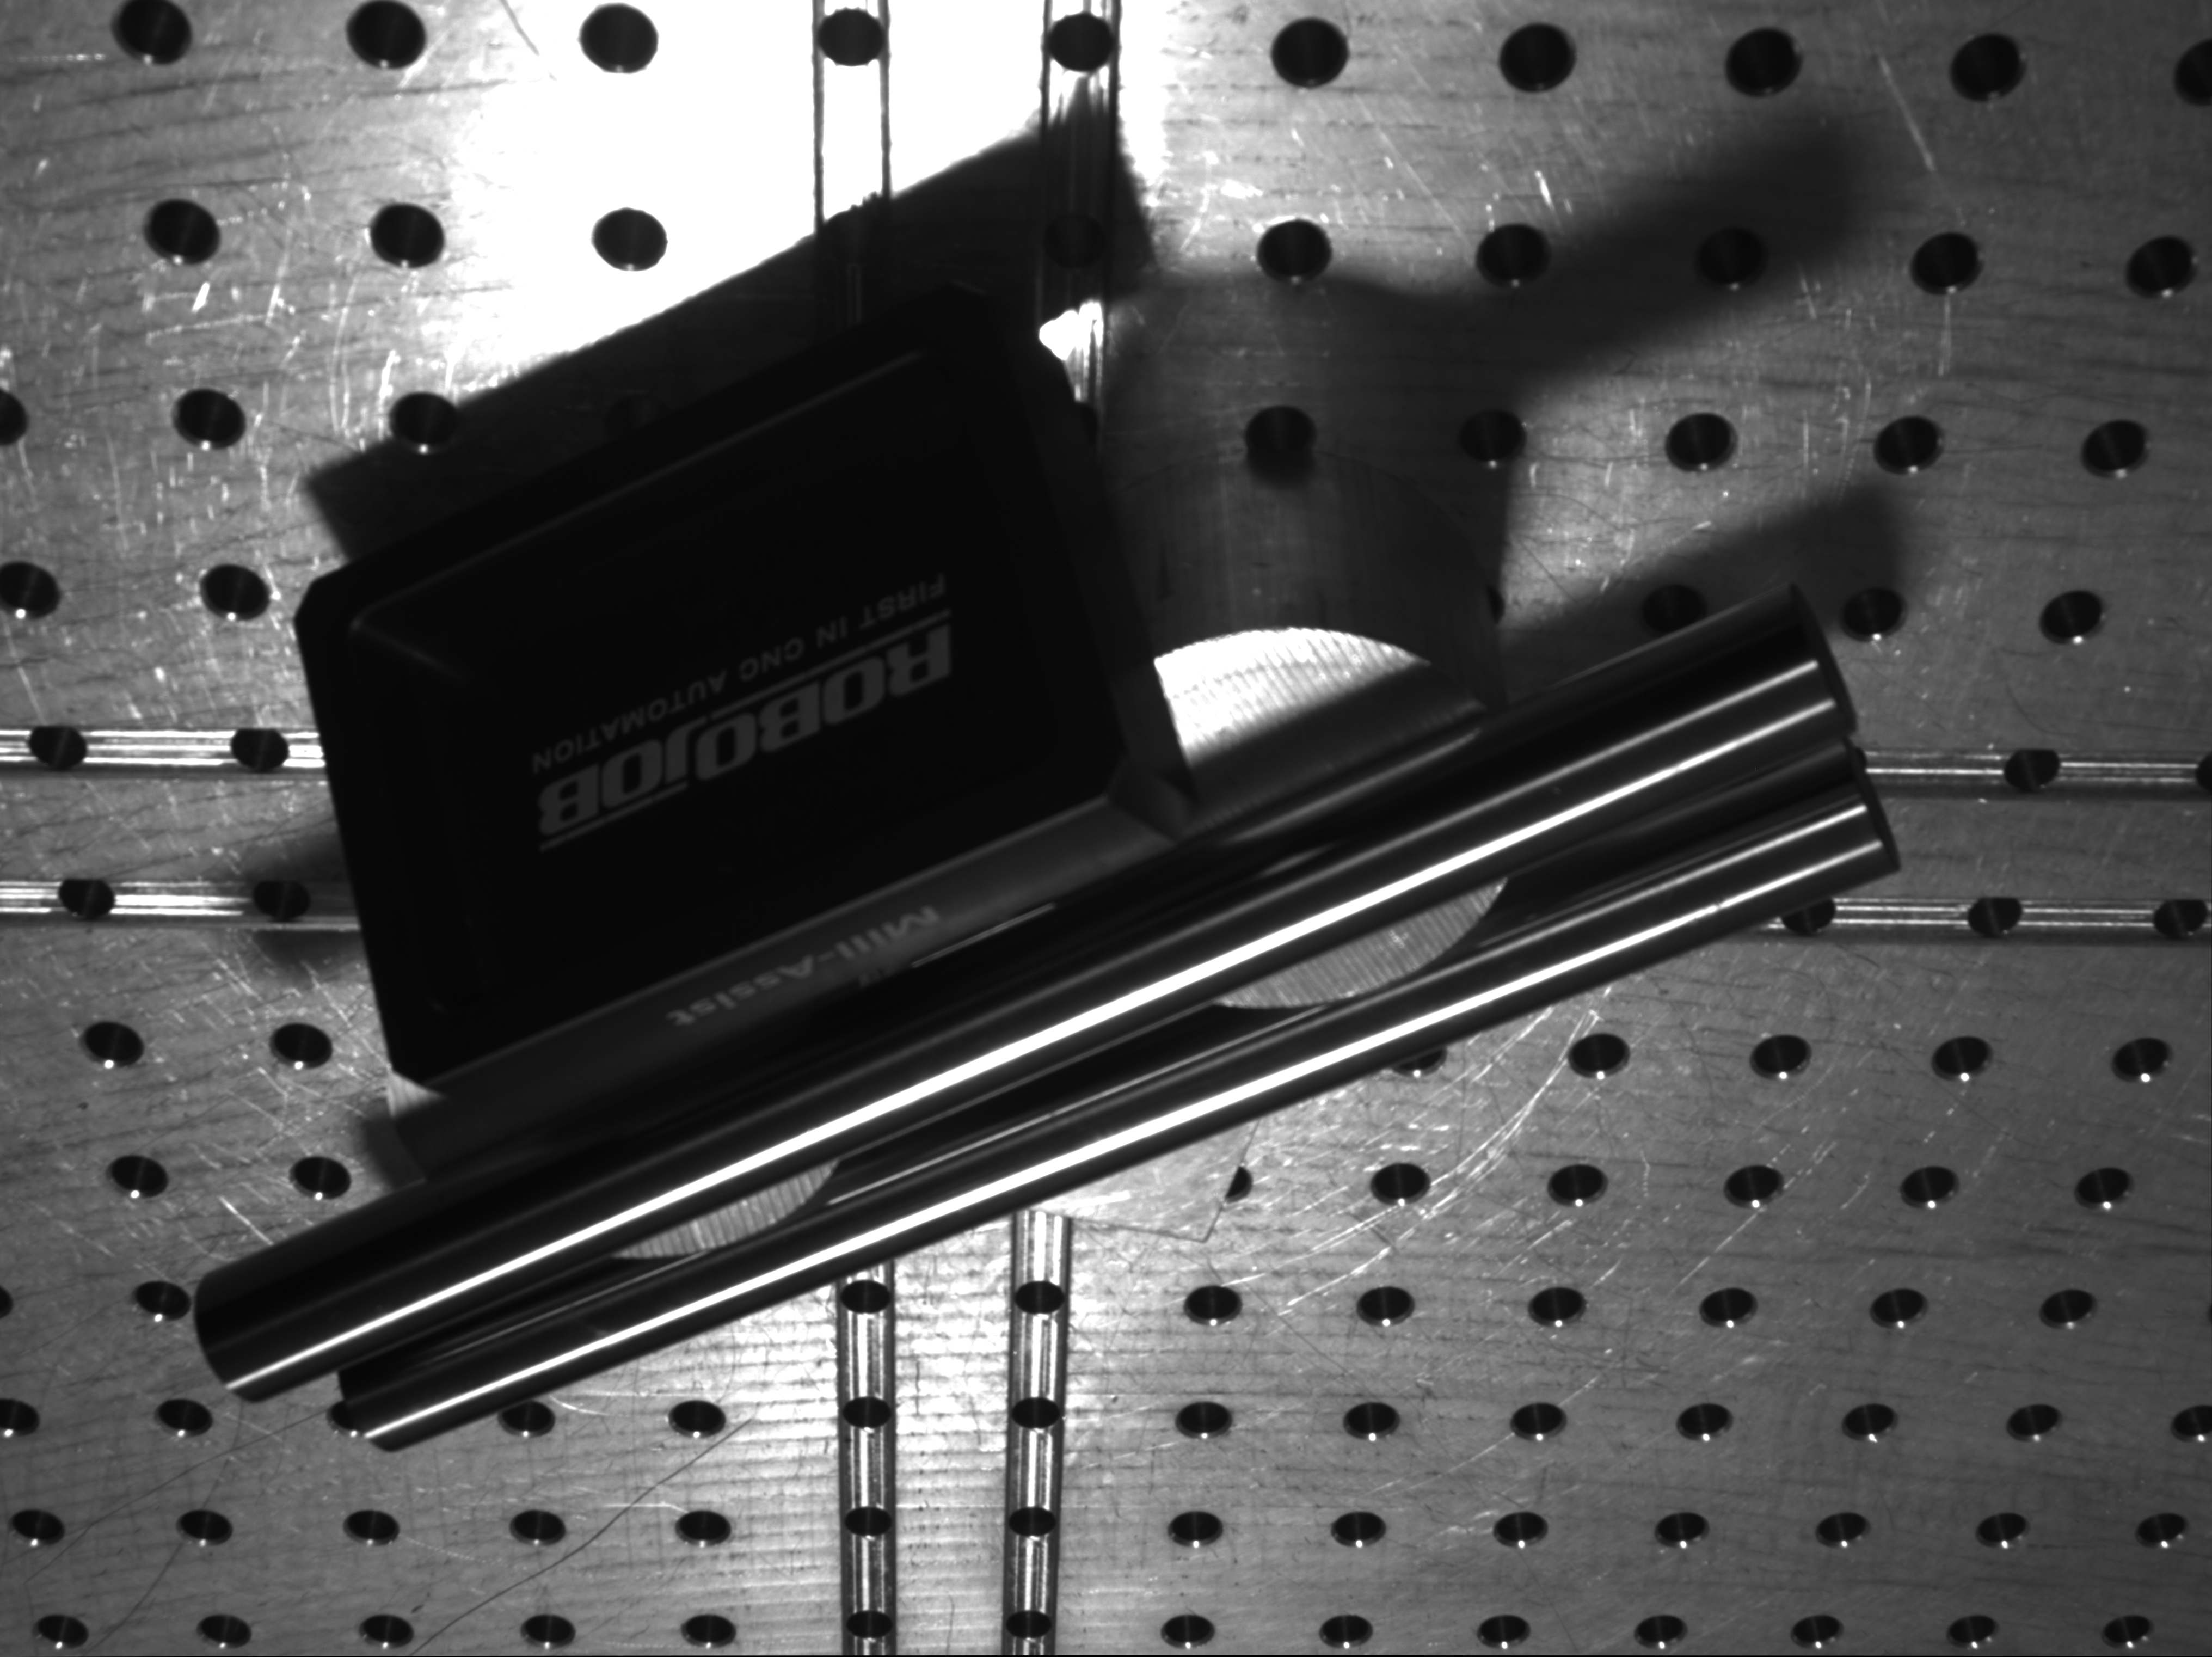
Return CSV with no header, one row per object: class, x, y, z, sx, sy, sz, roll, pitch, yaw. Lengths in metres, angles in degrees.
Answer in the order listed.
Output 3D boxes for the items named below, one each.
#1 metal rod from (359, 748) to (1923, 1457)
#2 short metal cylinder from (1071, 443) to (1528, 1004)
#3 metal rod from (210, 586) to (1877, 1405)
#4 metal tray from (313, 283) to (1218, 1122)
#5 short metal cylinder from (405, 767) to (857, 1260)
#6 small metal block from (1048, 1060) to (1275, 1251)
metal rod,-0.001,0.051,0.650,0.300,0.025,0.025,-23,127,16
short metal cylinder,0.030,-0.017,0.612,0.080,0.050,0.080,-1,130,-1
metal rod,-0.019,0.032,0.601,0.300,0.025,0.025,-24,127,17
metal tray,-0.056,-0.018,0.580,0.130,0.090,0.030,-23,159,16
short metal cylinder,-0.081,0.031,0.648,0.080,0.050,0.080,-1,130,-1
small metal block,0.005,0.048,0.681,0.050,0.025,0.050,12,129,-11
